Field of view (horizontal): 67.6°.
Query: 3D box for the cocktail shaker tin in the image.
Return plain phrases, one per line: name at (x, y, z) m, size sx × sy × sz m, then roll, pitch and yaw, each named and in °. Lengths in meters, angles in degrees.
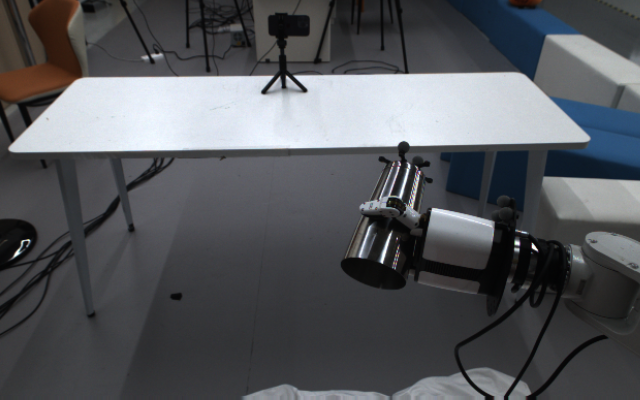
cocktail shaker tin at (0.097, 0.029, 0.686) m, size 0.093 × 0.093 × 0.170 m, roll 14°, pitch 61°, yaw 17°
